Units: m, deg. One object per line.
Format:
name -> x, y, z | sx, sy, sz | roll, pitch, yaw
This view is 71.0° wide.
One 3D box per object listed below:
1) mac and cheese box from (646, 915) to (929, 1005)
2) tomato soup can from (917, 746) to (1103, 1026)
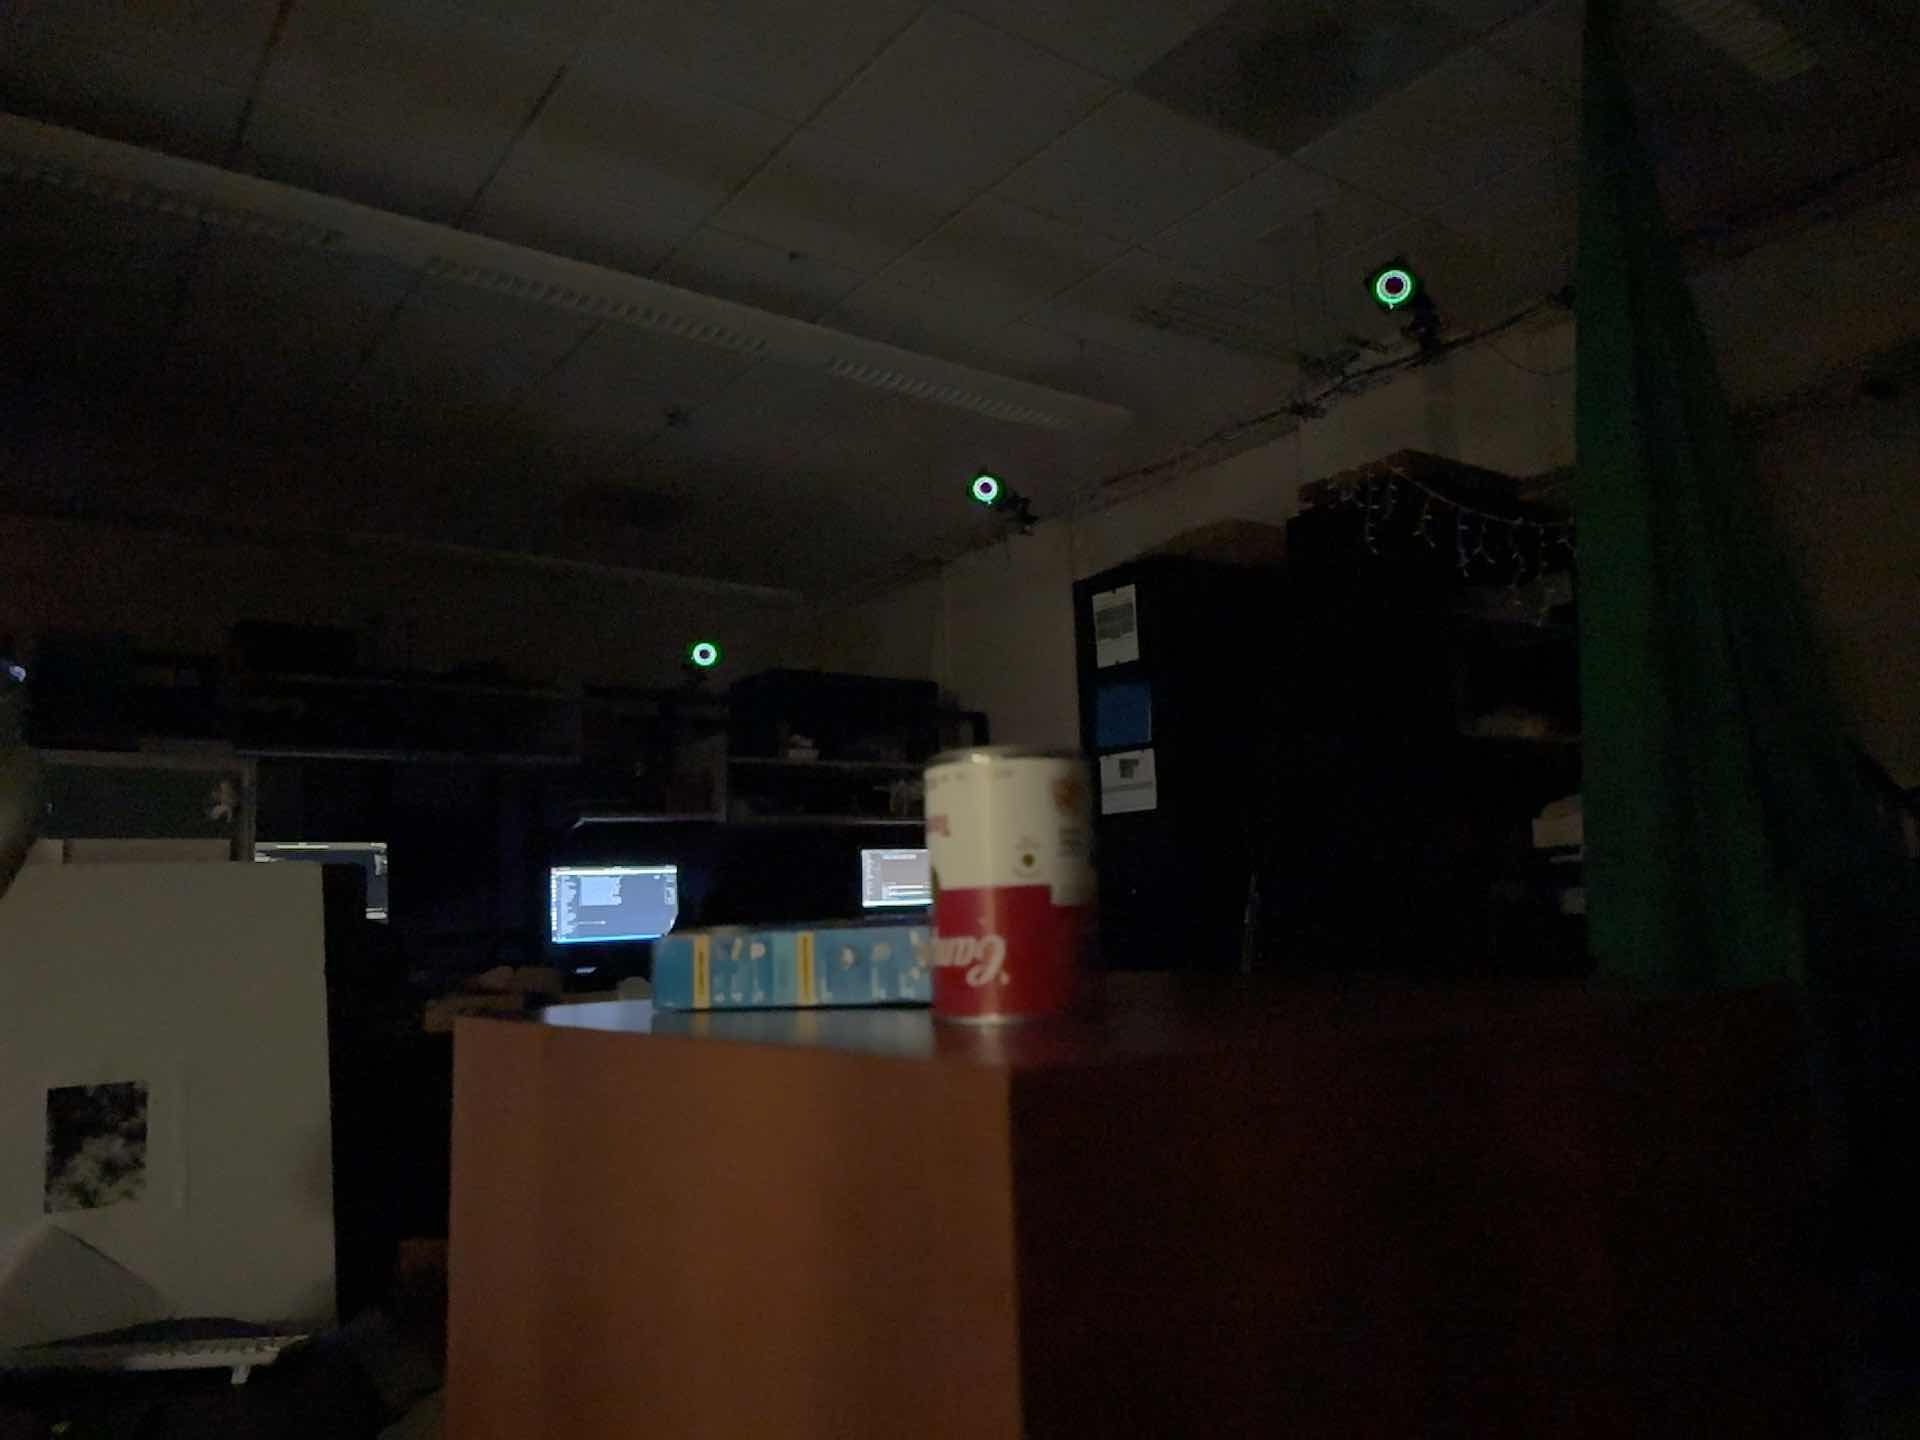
mac and cheese box -> -0.049, 0.117, 0.659 | 0.181, 0.035, 0.088 | -4, -5, 18
tomato soup can -> 0.018, 0.063, 0.521 | 0.067, 0.102, 0.067 | -3, -6, 0
